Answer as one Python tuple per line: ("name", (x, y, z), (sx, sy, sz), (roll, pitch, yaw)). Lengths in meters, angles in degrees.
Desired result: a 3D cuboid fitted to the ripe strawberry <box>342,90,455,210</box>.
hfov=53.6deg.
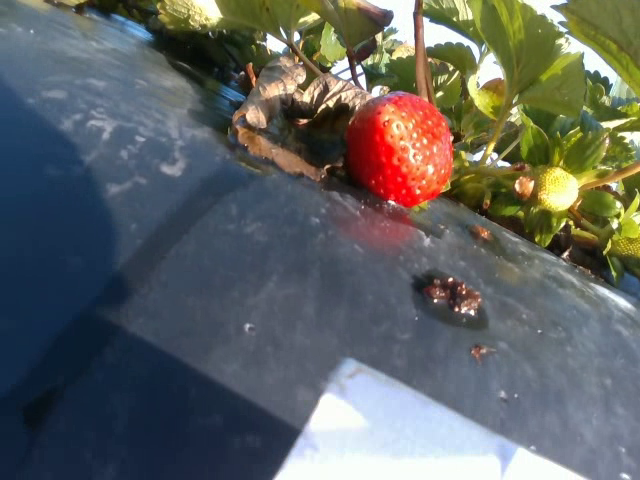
("ripe strawberry", (0.020, -0.027, 0.171), (0.047, 0.038, 0.054), (47, 11, 19))
